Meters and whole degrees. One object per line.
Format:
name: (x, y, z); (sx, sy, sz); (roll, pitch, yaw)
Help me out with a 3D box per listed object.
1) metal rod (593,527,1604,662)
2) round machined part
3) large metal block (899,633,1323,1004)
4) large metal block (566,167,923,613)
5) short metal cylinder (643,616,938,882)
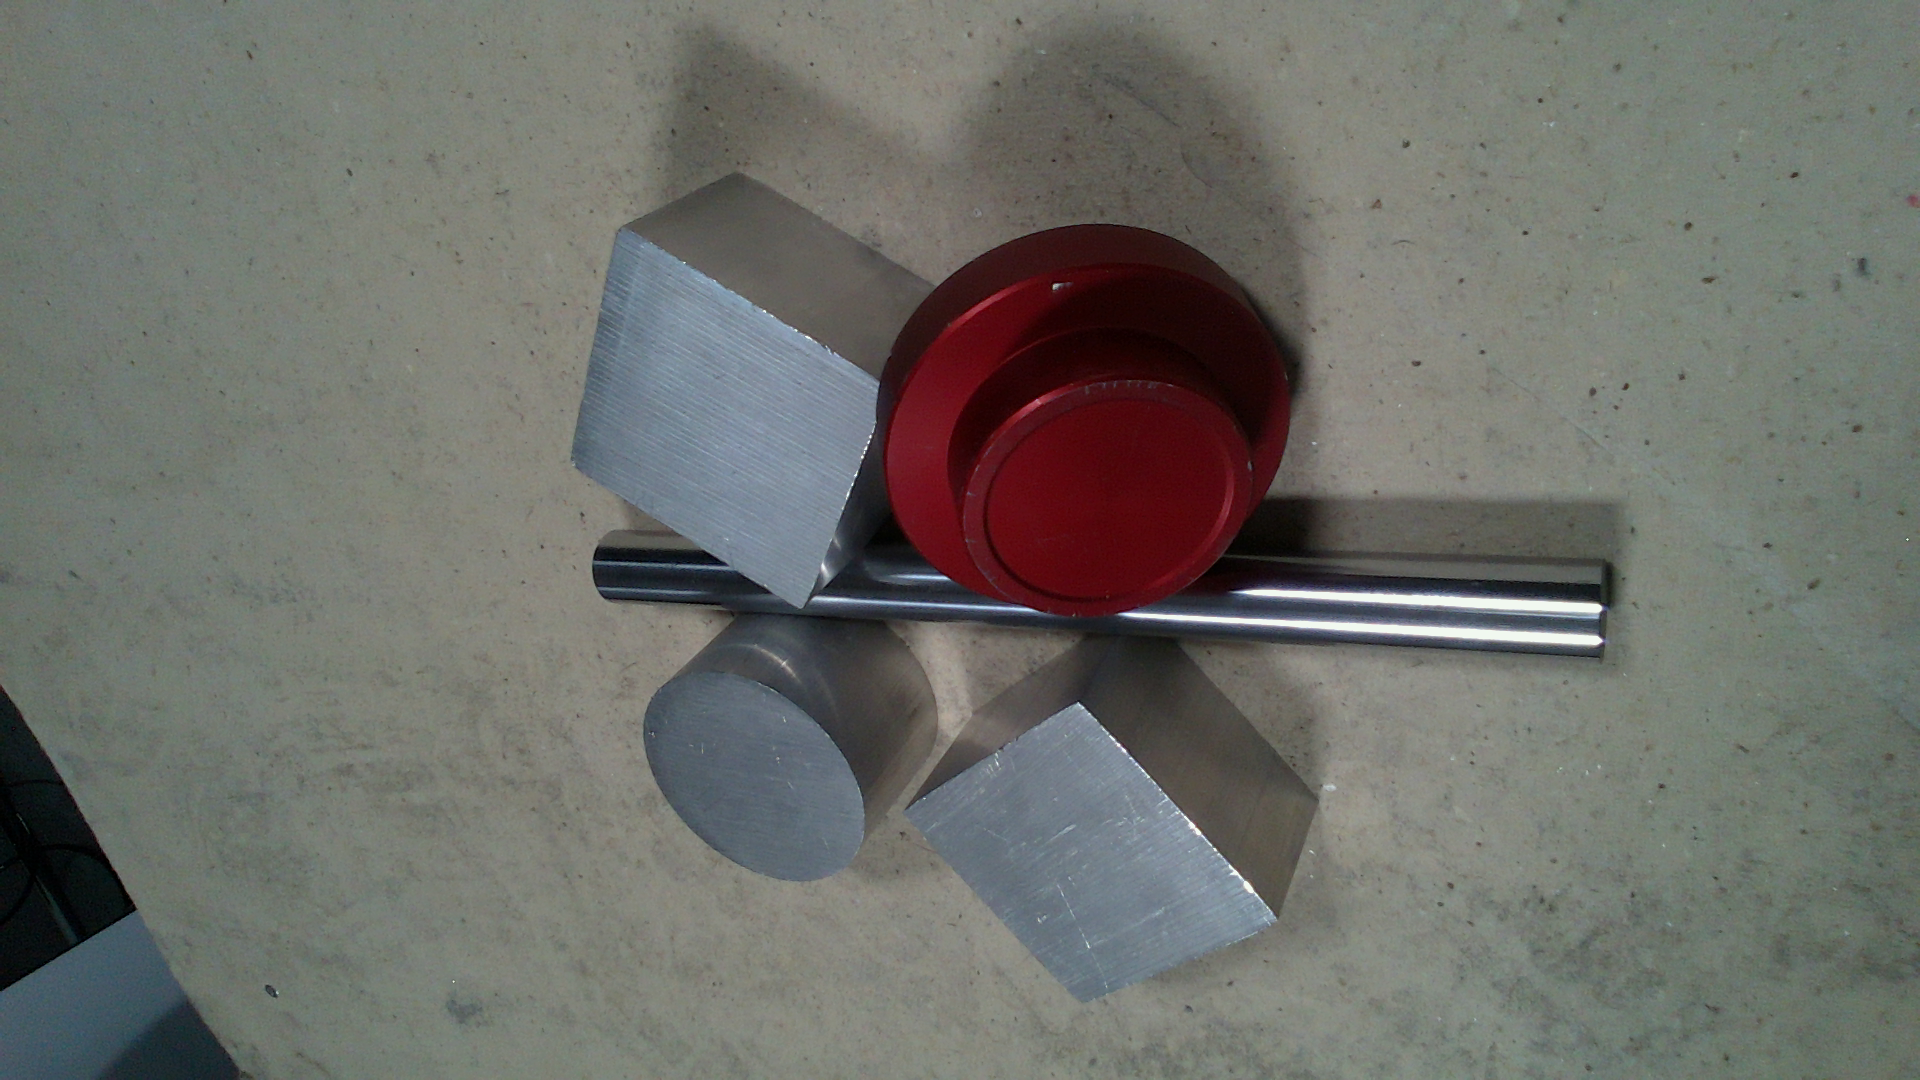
metal rod: (0.018, 0.012, 0.392); (0.299, 0.025, 0.025); (2, 119, 27)
round machined part: (0.030, -0.020, 0.323); (0.098, 0.042, 0.098); (-4, 129, -4)
large metal block: (0.044, 0.078, 0.402); (0.080, 0.050, 0.080); (48, 129, -5)
large metal block: (-0.053, -0.041, 0.377); (0.080, 0.050, 0.080); (32, 129, 8)
short metal cylinder: (-0.054, 0.062, 0.445); (0.080, 0.050, 0.080); (13, 124, 21)
